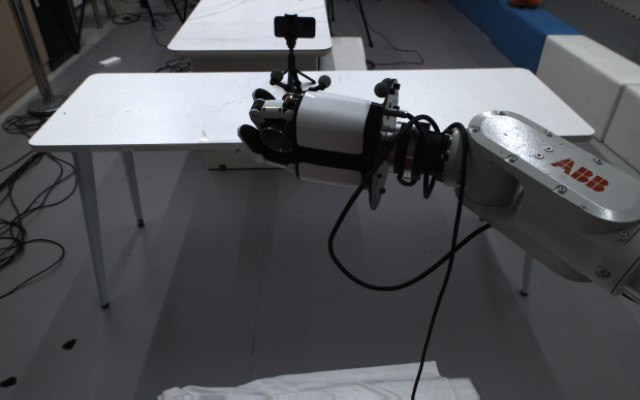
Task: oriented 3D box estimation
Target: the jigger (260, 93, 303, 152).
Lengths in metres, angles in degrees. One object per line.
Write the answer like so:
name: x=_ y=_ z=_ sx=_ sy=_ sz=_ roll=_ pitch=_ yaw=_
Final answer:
jigger: x=-0.041 y=-0.101 z=0.624 sx=0.043 sy=0.043 sz=0.071 roll=13 pitch=58 yaw=16
